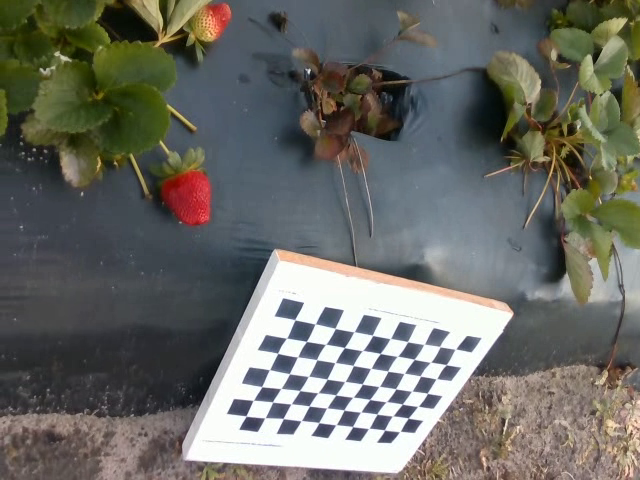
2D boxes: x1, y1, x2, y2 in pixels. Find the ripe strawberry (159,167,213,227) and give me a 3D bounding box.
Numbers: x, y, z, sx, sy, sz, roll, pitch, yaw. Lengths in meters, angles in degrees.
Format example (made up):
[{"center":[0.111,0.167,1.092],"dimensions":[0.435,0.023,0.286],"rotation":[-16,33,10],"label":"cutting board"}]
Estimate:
[{"center":[-0.110,-0.033,0.498],"dimensions":[0.045,0.055,0.042],"rotation":[-27,-27,5],"label":"ripe strawberry"}]
